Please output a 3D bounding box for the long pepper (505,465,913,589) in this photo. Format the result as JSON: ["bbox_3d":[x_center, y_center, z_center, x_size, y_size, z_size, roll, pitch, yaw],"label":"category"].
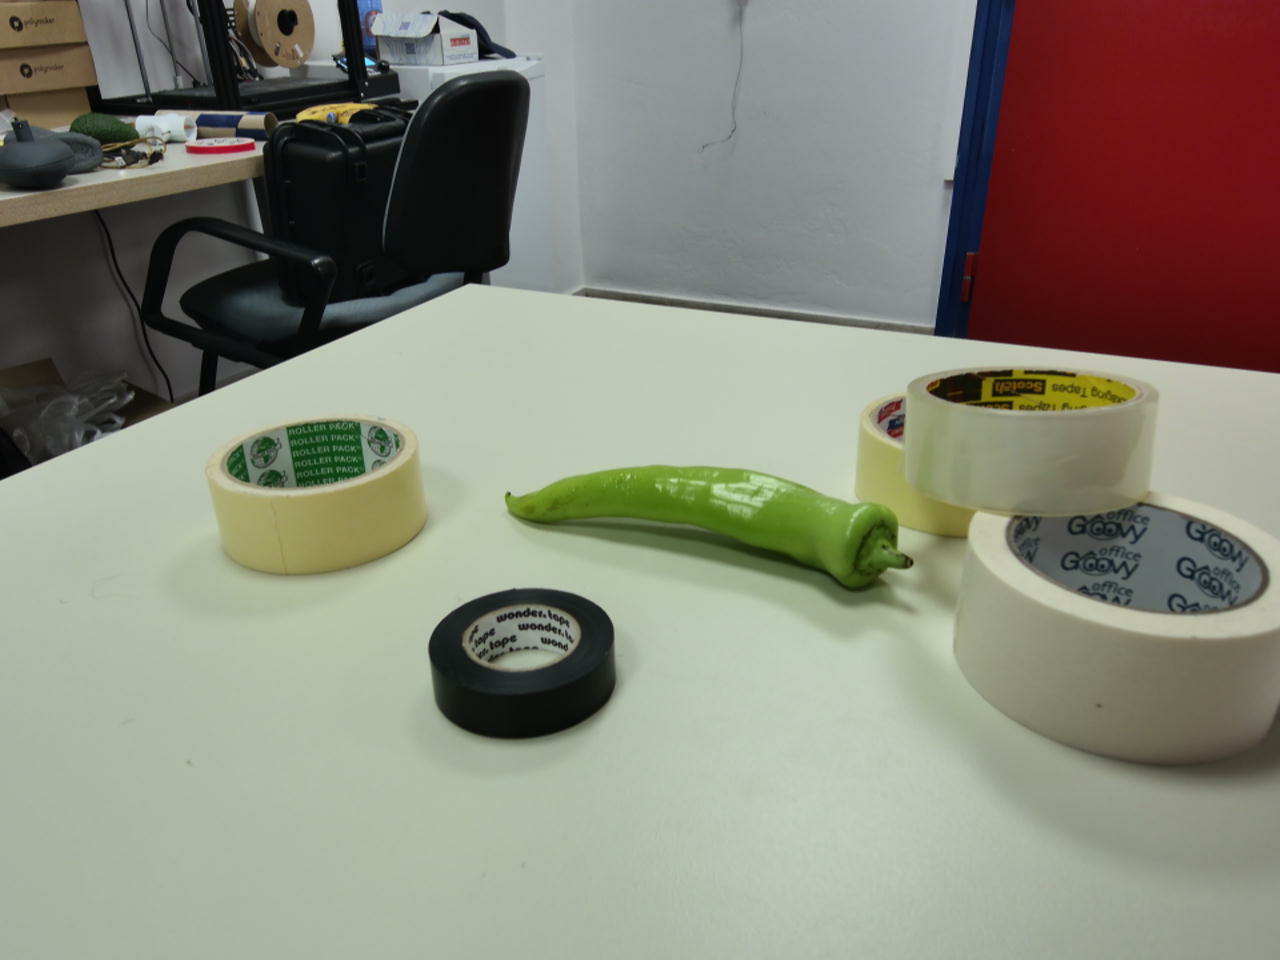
[{"bbox_3d":[0.027,0.012,0.444,0.197,0.038,0.046,12,26,26],"label":"long pepper"}]
